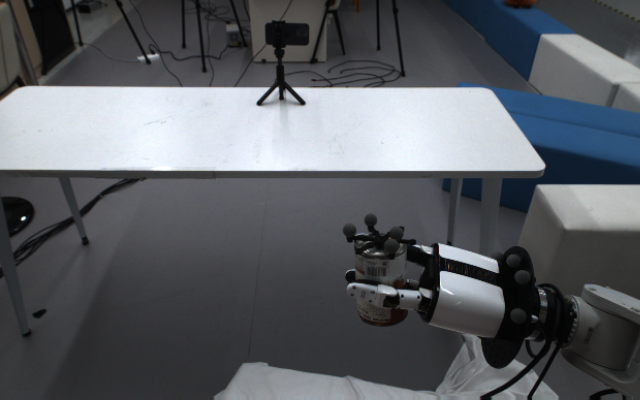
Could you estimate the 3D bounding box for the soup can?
[{"bbox_3d":[0.082,0.102,0.628,0.067,0.101,0.067,-4,21,1],"label":"soup can"}]
